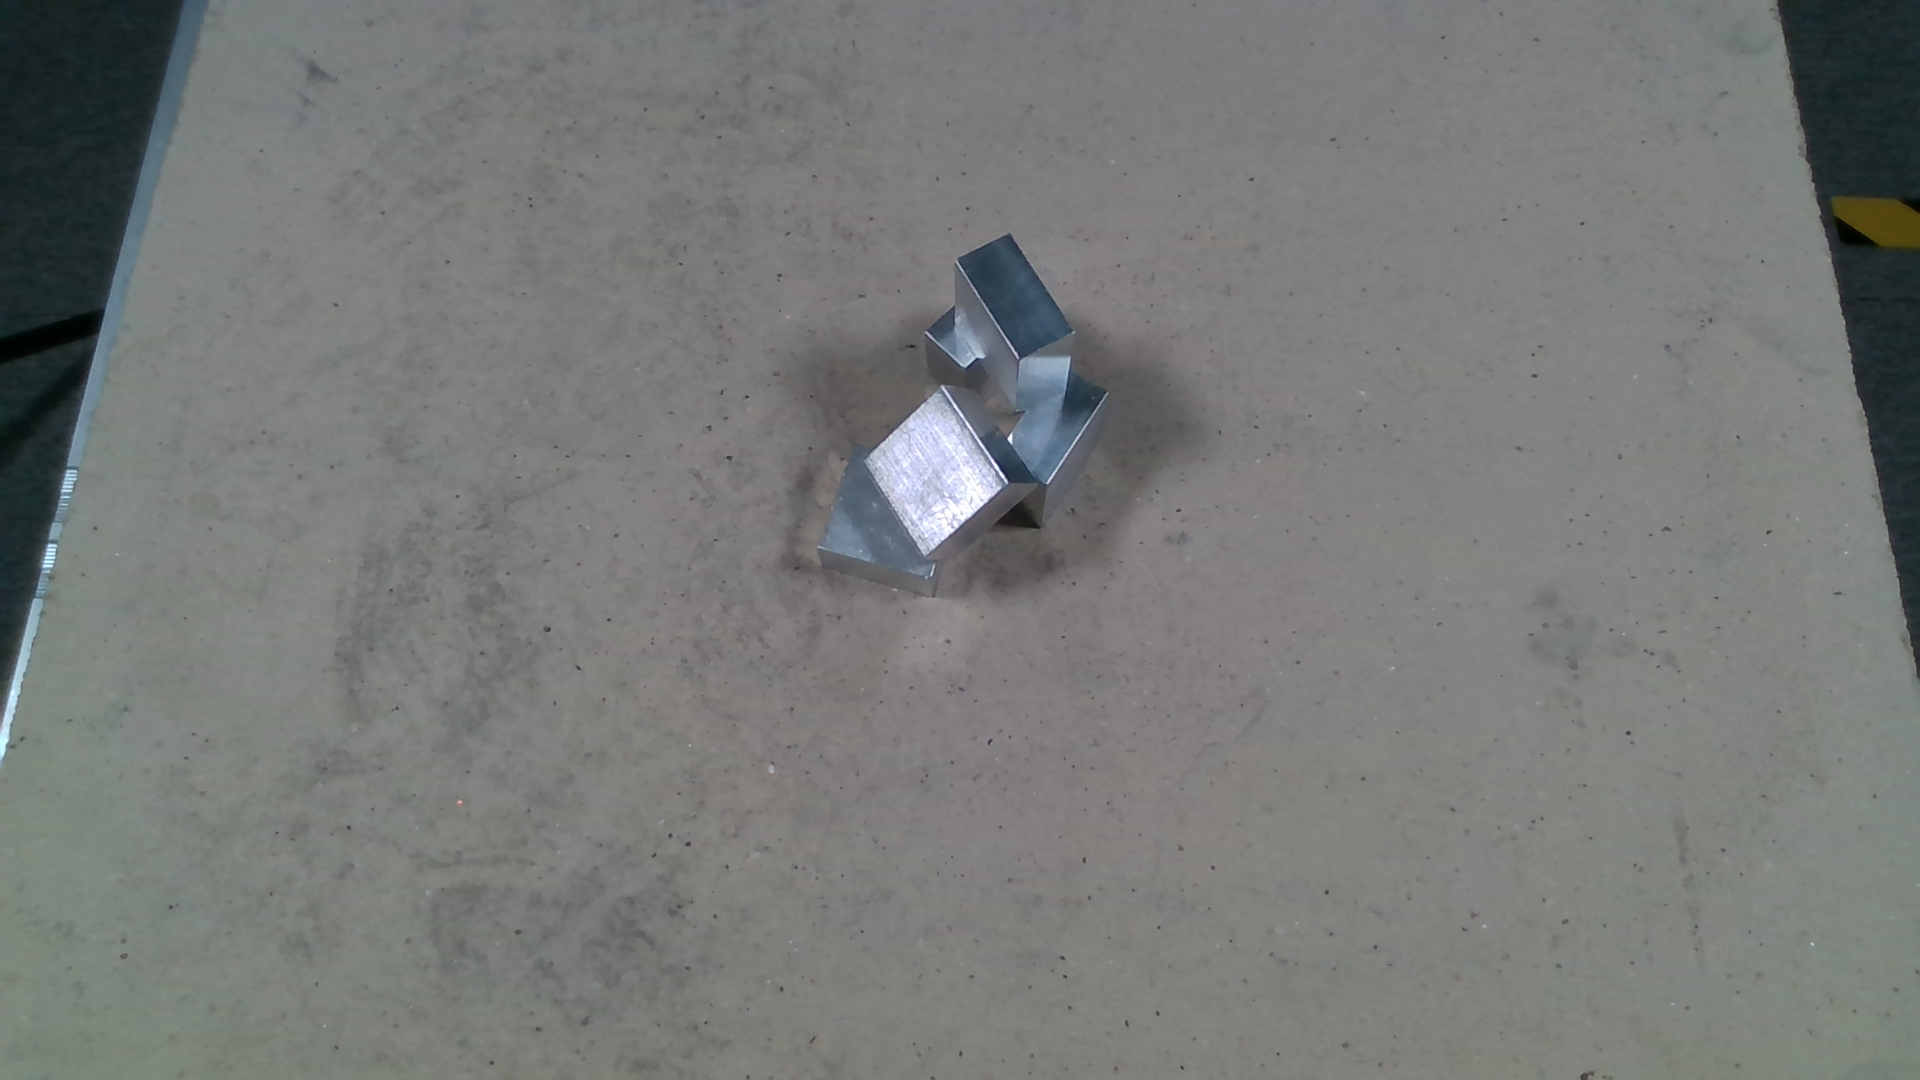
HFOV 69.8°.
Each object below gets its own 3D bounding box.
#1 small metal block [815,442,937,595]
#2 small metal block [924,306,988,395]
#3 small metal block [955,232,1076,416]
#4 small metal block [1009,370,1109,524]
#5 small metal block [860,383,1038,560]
[{"bbox_3d":[-0.029,-0.009,0.592,0.050,0.025,0.050,15,71,5],"label":"small metal block"},{"bbox_3d":[0.011,-0.088,0.607,0.050,0.050,0.025,-43,76,-14],"label":"small metal block"},{"bbox_3d":[0.021,-0.086,0.553,0.025,0.050,0.050,-28,73,-10],"label":"small metal block"},{"bbox_3d":[0.038,-0.040,0.590,0.025,0.050,0.050,31,73,10],"label":"small metal block"},{"bbox_3d":[-0.005,-0.027,0.558,0.050,0.025,0.050,-41,71,25],"label":"small metal block"}]
